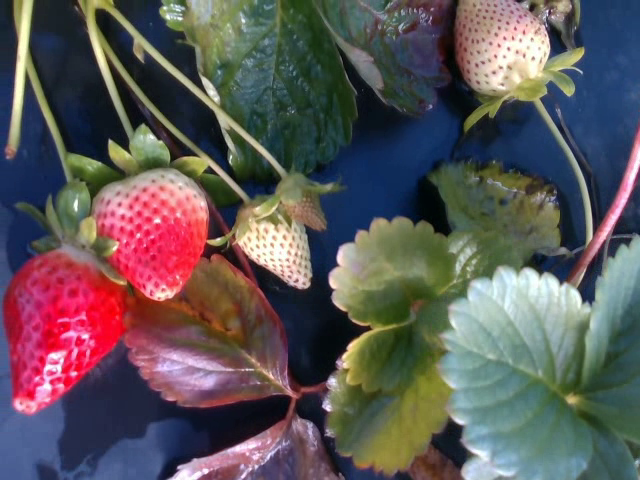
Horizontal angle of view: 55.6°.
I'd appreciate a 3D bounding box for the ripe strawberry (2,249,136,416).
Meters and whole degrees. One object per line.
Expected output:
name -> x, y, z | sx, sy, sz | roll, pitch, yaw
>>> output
ripe strawberry -> -0.086, 0.030, 0.190 | 0.044, 0.055, 0.042 | -10, -38, 28
